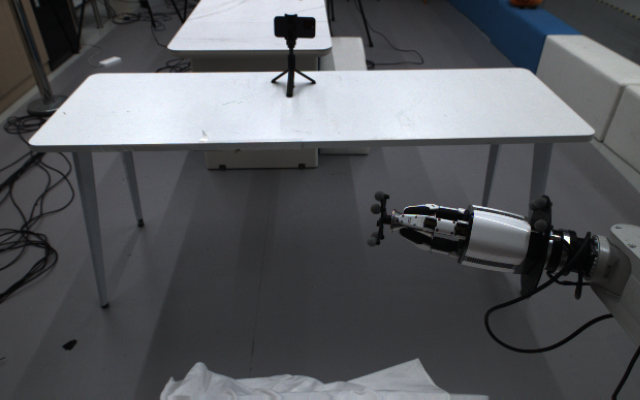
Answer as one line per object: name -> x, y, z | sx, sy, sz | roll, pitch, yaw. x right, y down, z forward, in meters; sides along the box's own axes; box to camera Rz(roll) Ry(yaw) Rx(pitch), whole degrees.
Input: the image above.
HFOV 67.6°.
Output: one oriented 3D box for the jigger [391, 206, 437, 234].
jigger -> 0.157, 0.034, 0.783 | 0.071, 0.043, 0.043 | 7, 35, 14
